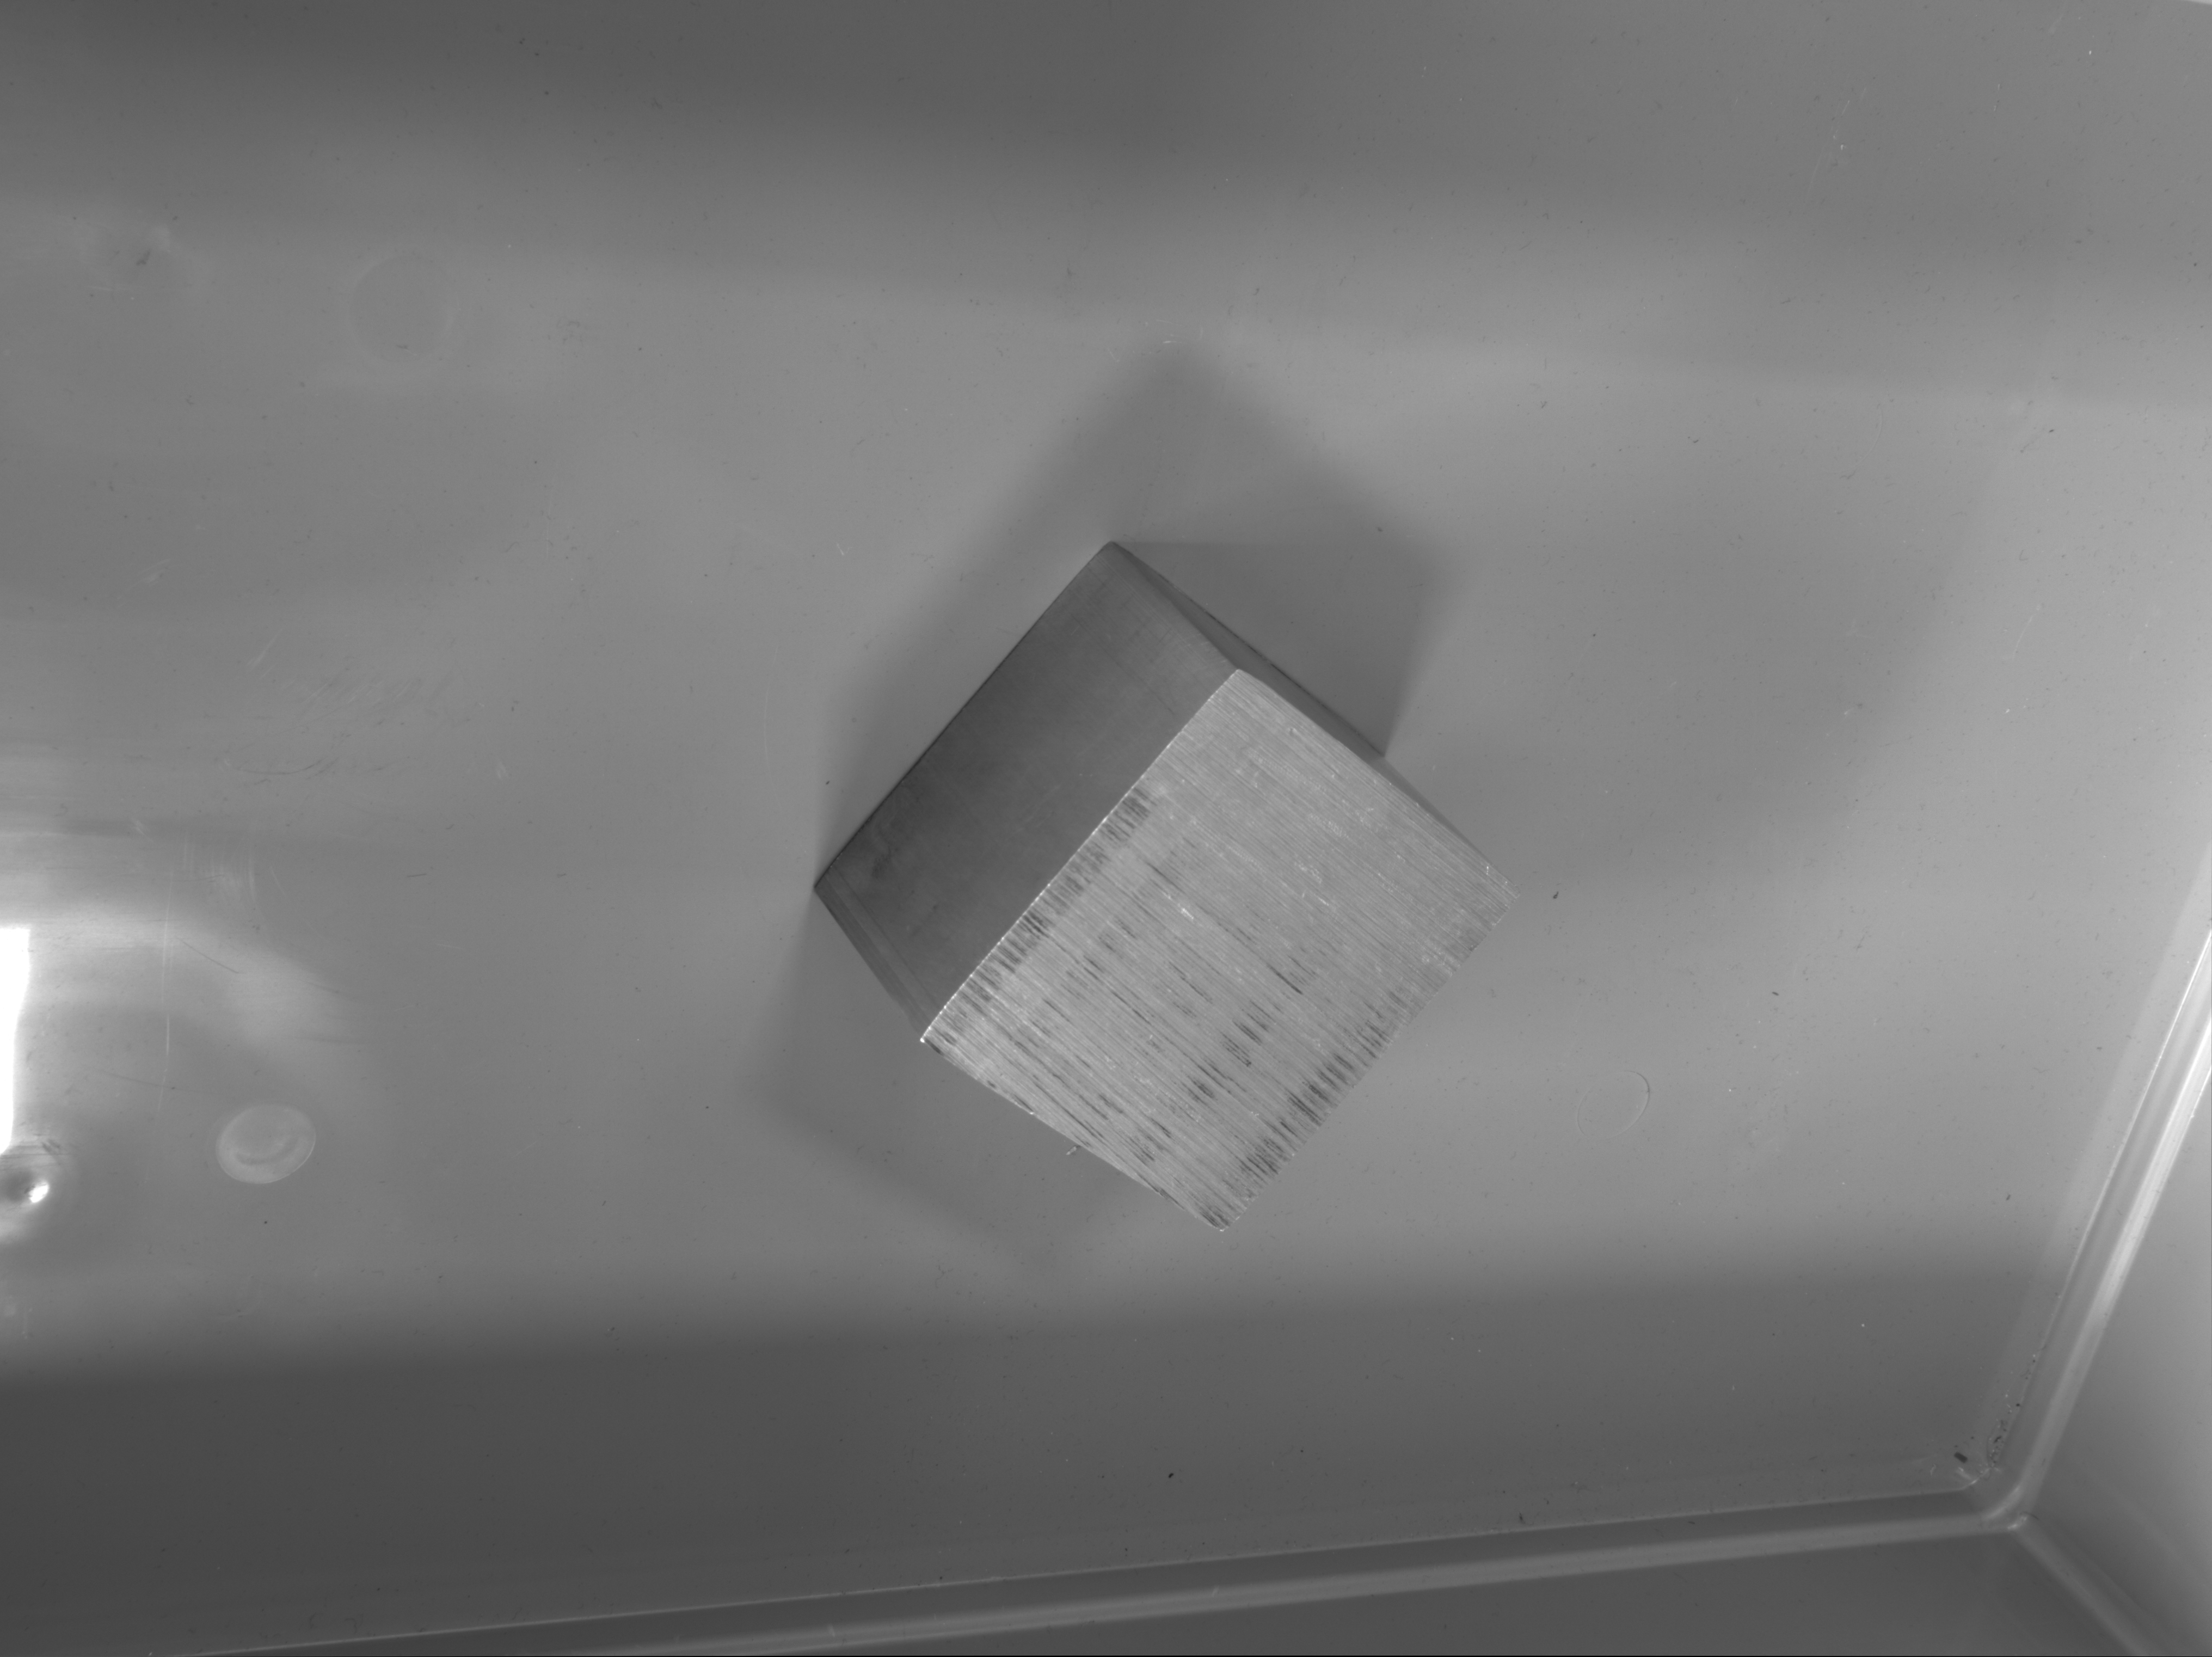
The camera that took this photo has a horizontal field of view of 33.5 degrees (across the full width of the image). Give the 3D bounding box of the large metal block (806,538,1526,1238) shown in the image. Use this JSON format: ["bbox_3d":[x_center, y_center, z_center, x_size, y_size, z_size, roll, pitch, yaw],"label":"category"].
[{"bbox_3d":[0.010,0.011,0.630,0.080,0.050,0.080,-50,129,6],"label":"large metal block"}]
